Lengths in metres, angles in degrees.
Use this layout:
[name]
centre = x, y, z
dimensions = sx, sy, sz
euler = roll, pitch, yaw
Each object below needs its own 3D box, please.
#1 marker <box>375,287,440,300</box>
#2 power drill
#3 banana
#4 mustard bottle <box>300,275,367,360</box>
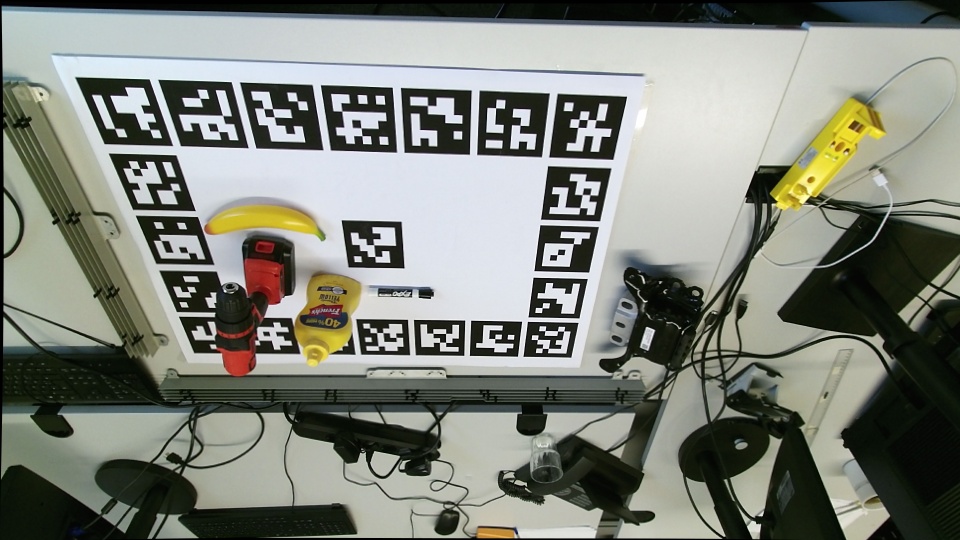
[marker]
centre = -0.138, 0.045, 1.022
dimensions = 0.121, 0.019, 0.019
euler = 2, 124, -3
[power drill]
centre = -0.366, 0.040, 0.886
dimensions = 0.057, 0.186, 0.184
euler = 13, 126, -8
[banana]
centre = -0.355, -0.086, 0.914
dimensions = 0.198, 0.038, 0.074
euler = 6, 123, -8
[mustard bottle]
centre = -0.262, 0.085, 0.941
dimensions = 0.096, 0.190, 0.058
euler = 10, 124, -7
